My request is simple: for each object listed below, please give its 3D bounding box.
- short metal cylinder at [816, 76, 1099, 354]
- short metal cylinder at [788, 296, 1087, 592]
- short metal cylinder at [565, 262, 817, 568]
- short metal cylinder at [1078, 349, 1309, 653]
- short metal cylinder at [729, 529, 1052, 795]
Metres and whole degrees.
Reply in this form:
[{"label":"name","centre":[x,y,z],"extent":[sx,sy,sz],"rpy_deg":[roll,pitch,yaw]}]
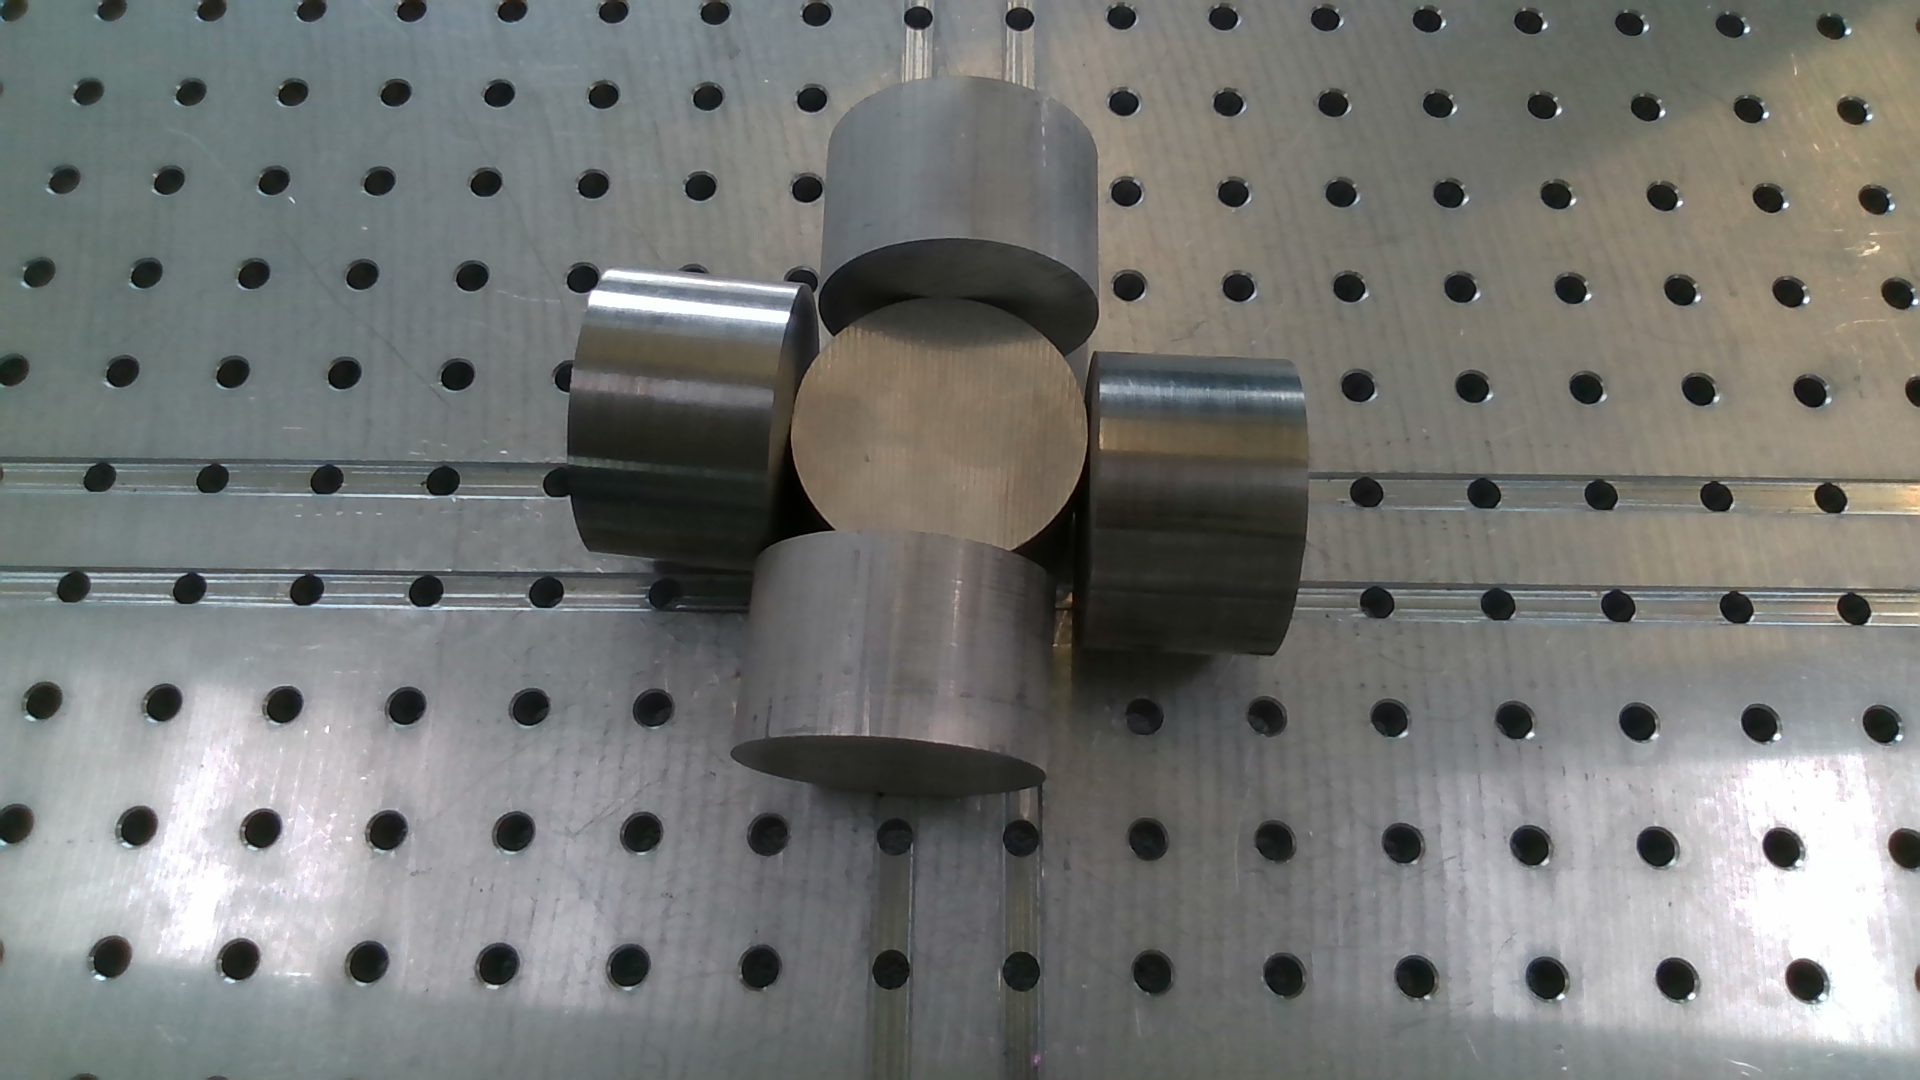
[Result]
[{"label":"short metal cylinder","centre":[0.000,-0.088,0.400],"extent":[0.080,0.080,0.050],"rpy_deg":[1,71,1]},{"label":"short metal cylinder","centre":[-0.006,-0.022,0.393],"extent":[0.080,0.050,0.080],"rpy_deg":[0,72,0]},{"label":"short metal cylinder","centre":[-0.071,-0.034,0.379],"extent":[0.050,0.080,0.080],"rpy_deg":[6,70,2]},{"label":"short metal cylinder","centre":[0.059,-0.010,0.372],"extent":[0.050,0.080,0.080],"rpy_deg":[3,70,1]},{"label":"short metal cylinder","centre":[-0.017,0.034,0.357],"extent":[0.080,0.080,0.050],"rpy_deg":[3,71,1]}]
